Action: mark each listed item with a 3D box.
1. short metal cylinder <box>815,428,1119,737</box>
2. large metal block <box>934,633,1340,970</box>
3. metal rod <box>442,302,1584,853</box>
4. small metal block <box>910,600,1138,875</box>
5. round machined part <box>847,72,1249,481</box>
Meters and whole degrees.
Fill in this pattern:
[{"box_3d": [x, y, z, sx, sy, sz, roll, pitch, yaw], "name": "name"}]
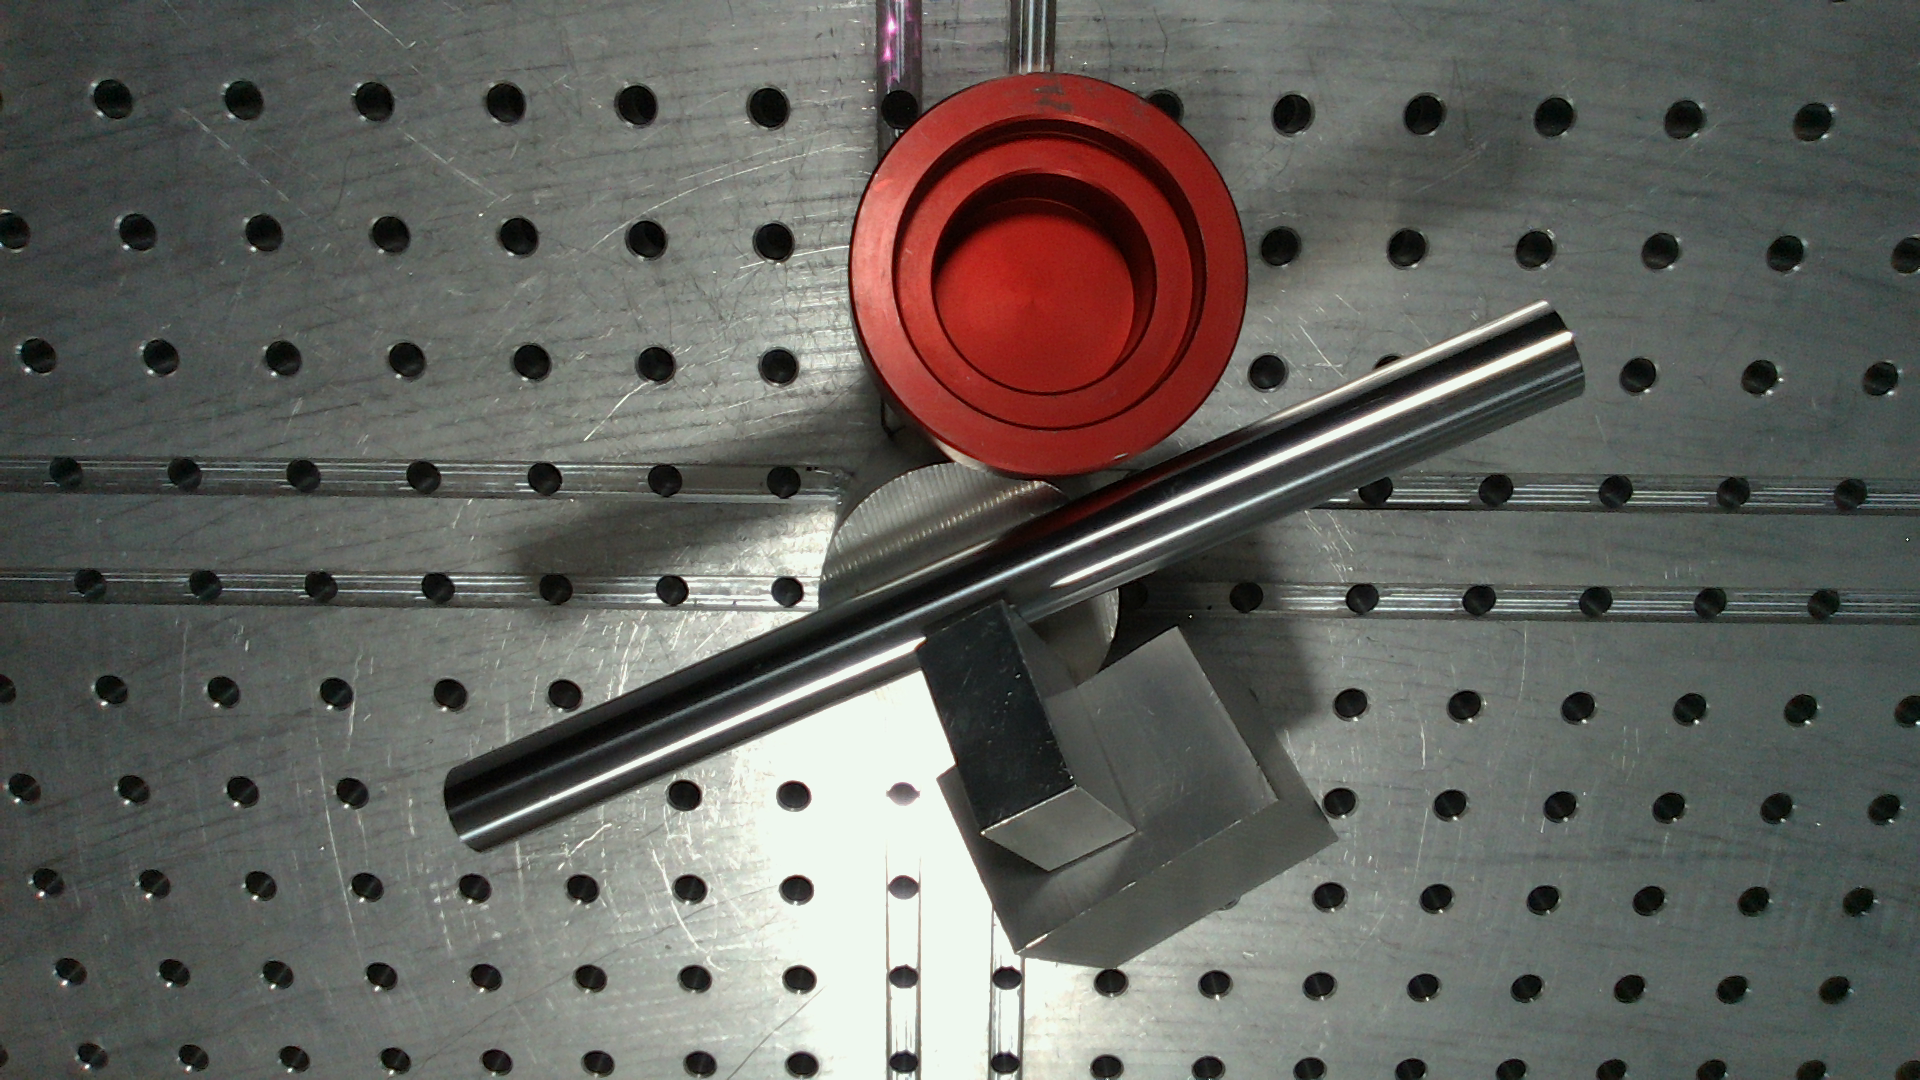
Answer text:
[{"box_3d": [0.002, 0.009, 0.386, 0.080, 0.050, 0.080, 0, 110, 0], "name": "short metal cylinder"}, {"box_3d": [0.052, 0.078, 0.387, 0.080, 0.050, 0.080, -34, 151, 12], "name": "large metal block"}, {"box_3d": [0.006, 0.013, 0.348, 0.300, 0.025, 0.025, -23, 109, 8], "name": "metal rod"}, {"box_3d": [0.016, 0.049, 0.337, 0.025, 0.050, 0.050, -28, 150, 10], "name": "small metal block"}, {"box_3d": [0.020, -0.064, 0.351, 0.098, 0.042, 0.098, 0, 88, -6], "name": "round machined part"}]
